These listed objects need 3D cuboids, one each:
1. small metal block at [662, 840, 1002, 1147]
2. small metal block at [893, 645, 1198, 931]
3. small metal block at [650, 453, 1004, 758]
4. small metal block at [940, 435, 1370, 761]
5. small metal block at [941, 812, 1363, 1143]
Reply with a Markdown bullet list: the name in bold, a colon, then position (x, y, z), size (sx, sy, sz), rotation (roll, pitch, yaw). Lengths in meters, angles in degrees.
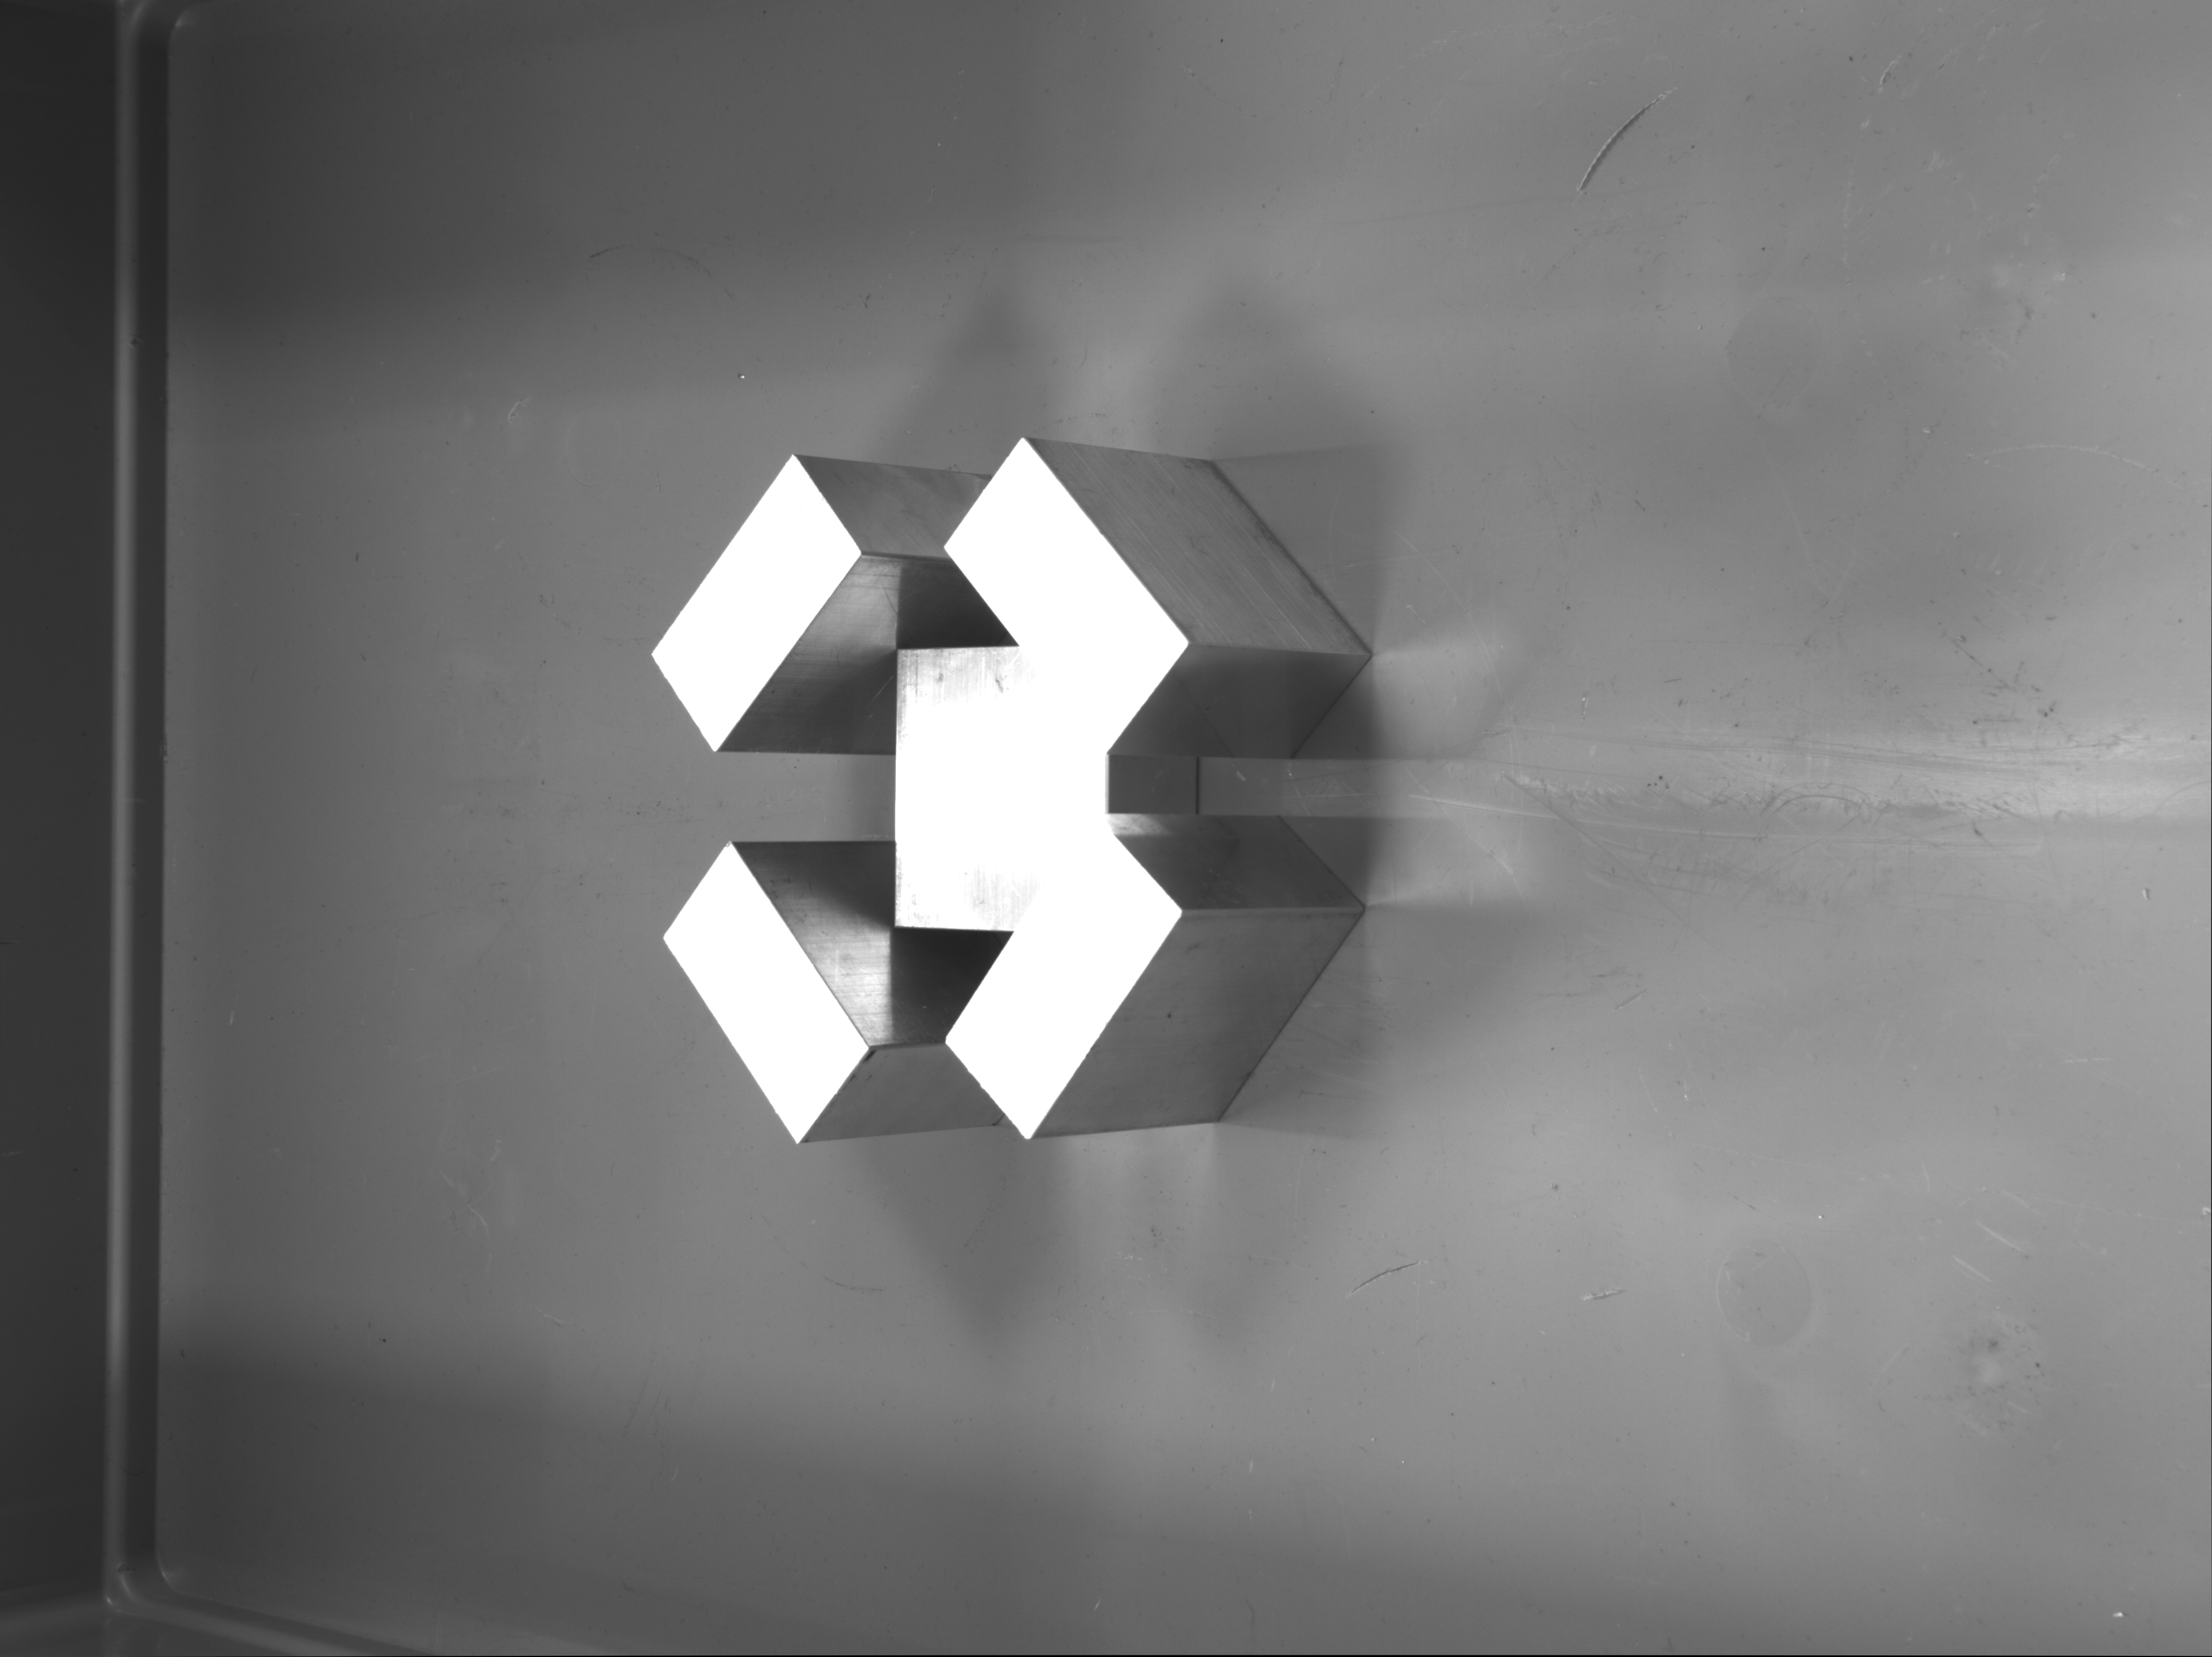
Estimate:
- **small metal block**: position (-0.044, 0.029, 0.664), size (0.050, 0.050, 0.025), rotation (53, 122, 27)
- **small metal block**: position (-0.011, -0.007, 0.652), size (0.050, 0.025, 0.050), rotation (1, 90, 40)
- **small metal block**: position (-0.046, -0.039, 0.665), size (0.050, 0.050, 0.025), rotation (-50, 59, 29)
- **small metal block**: position (0.008, -0.038, 0.619), size (0.025, 0.050, 0.050), rotation (-52, 60, 26)
- **small metal block**: position (0.008, 0.025, 0.619), size (0.025, 0.050, 0.050), rotation (47, 117, 29)
